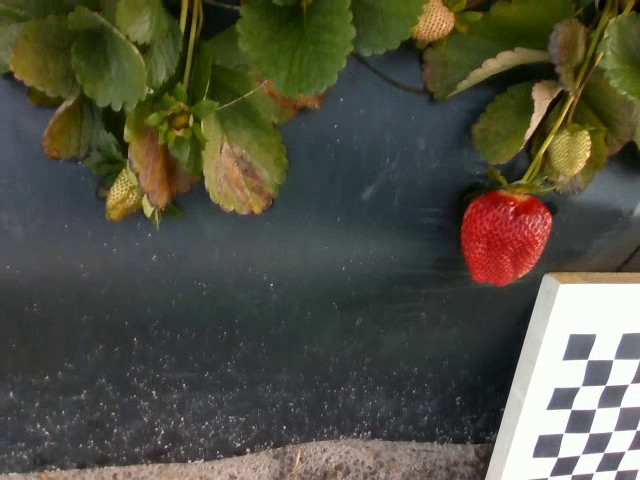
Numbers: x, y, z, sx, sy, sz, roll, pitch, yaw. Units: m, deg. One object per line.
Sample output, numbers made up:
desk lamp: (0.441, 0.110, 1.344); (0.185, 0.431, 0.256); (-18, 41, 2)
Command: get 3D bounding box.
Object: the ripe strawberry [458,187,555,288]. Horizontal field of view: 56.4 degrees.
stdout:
ripe strawberry: (0.130, -0.001, 0.420); (0.067, 0.075, 0.039); (7, 18, -13)
